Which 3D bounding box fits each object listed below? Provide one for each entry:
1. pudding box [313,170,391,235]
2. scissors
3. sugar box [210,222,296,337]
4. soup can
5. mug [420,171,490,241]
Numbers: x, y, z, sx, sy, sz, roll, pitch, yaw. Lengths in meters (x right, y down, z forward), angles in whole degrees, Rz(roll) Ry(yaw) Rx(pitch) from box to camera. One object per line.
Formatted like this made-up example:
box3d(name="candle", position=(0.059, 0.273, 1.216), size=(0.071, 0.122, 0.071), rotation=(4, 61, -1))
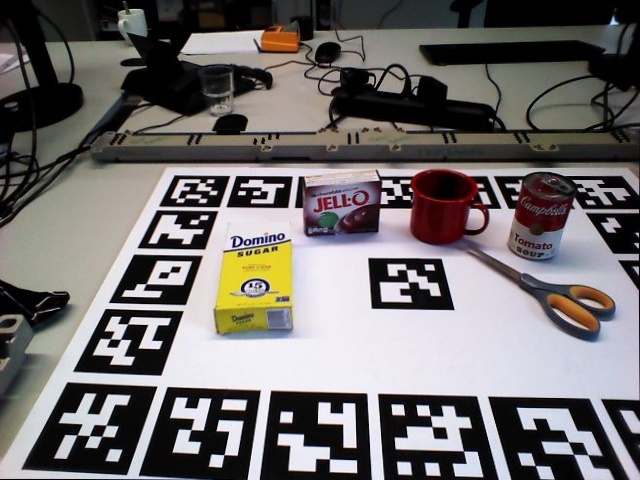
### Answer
box3d(name="pudding box", position=(0.047, -0.055, 0.744), size=(0.114, 0.090, 0.038), rotation=(-5, 46, -3))
box3d(name="scissors", position=(0.281, 0.063, 0.645), size=(0.087, 0.016, 0.203), rotation=(-35, 49, -20))
box3d(name="sugar box", position=(-0.081, 0.045, 0.675), size=(0.093, 0.045, 0.175), rotation=(-2, 40, 3))
box3d(name="soup can", position=(0.309, -0.023, 0.695), size=(0.068, 0.102, 0.067), rotation=(-2, 38, 1))
box3d(name="mug", position=(0.196, -0.048, 0.737), size=(0.093, 0.082, 0.117), rotation=(-25, 43, -21))
